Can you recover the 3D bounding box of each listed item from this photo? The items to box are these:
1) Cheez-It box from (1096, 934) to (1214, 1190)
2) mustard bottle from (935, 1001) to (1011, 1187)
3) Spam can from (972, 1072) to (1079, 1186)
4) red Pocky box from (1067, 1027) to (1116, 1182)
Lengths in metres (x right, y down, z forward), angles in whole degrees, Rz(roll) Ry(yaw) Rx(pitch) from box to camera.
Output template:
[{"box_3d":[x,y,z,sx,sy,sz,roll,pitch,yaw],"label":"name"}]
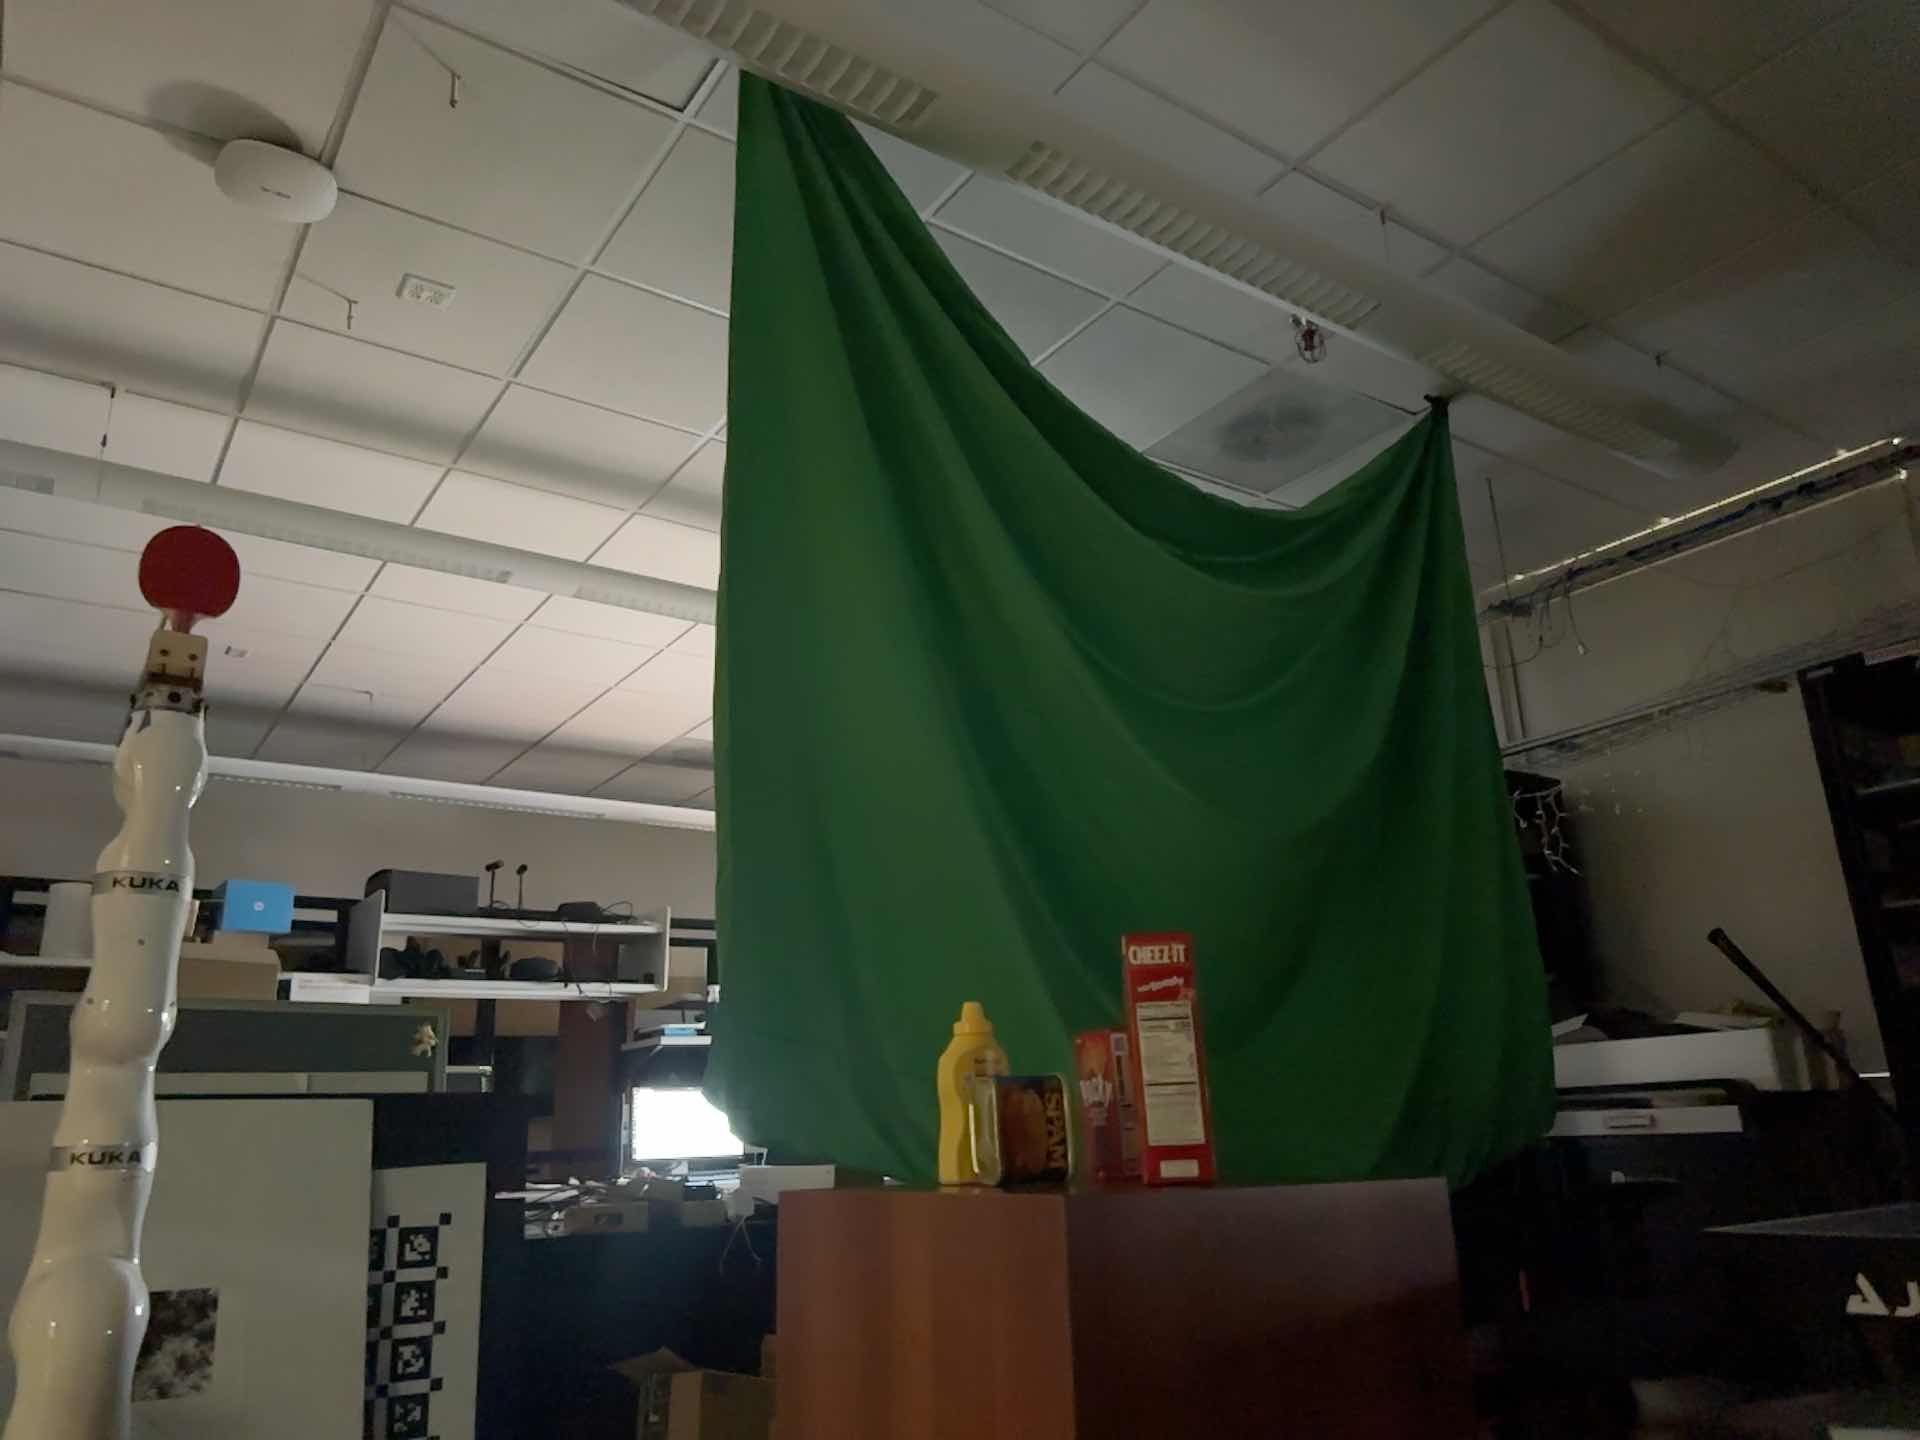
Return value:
[{"box_3d":[0.178,0.322,1.269,0.062,0.214,0.159,-1,-15,-4],"label":"Cheez-It box"},{"box_3d":[0.015,0.384,1.390,0.092,0.184,0.054,10,-21,-34],"label":"mustard bottle"},{"box_3d":[0.060,0.391,1.288,0.083,0.100,0.056,6,-18,-28],"label":"Spam can"},{"box_3d":[0.144,0.405,1.421,0.028,0.155,0.083,5,-18,-20],"label":"red Pocky box"}]
